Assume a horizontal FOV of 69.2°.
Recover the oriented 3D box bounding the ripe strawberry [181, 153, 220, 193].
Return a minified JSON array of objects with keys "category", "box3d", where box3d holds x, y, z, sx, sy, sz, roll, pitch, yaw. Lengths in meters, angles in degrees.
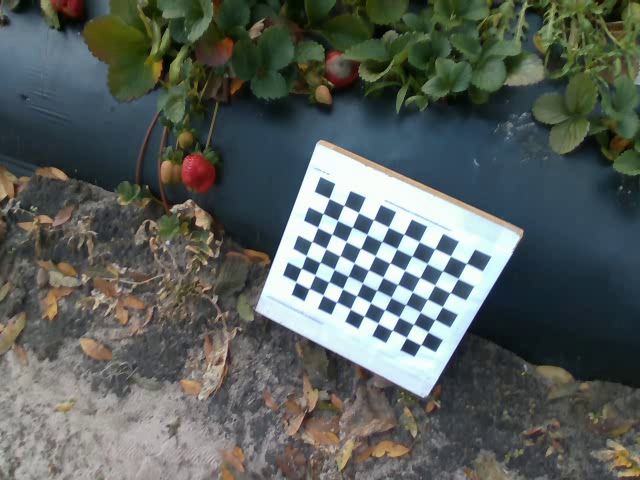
[{"category":"ripe strawberry","box3d":[-0.203,-0.101,0.736,0.066,0.075,0.053,8,19,13]}]
